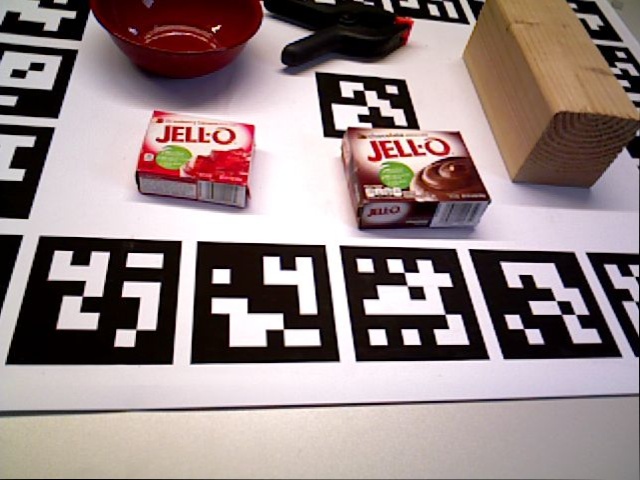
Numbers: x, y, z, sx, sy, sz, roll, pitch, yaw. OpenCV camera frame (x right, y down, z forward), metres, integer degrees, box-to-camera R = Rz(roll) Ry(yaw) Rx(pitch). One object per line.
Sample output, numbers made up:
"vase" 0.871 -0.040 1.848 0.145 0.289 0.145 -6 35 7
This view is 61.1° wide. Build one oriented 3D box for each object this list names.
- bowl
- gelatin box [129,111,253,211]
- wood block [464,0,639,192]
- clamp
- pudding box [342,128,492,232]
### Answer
"bowl" -0.145 -0.207 0.533 0.160 0.056 0.159 6 56 -10
"gelatin box" -0.103 -0.066 0.446 0.089 0.031 0.072 8 55 -7
"wood block" 0.226 -0.158 0.548 0.089 0.093 0.203 4 54 -12
"clamp" 0.005 -0.230 0.597 0.163 0.037 0.120 -7 56 -20
"pudding box" 0.080 -0.053 0.473 0.113 0.039 0.089 -1 59 -10
